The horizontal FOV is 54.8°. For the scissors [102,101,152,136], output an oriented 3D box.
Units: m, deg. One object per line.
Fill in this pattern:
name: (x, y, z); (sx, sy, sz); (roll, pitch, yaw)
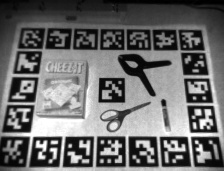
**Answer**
scissors: (0.061, 0.105, 0.794); (0.203, 0.016, 0.087); (-28, 71, -12)

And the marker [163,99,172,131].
marker: (0.203, 0.107, 0.794); (0.019, 0.020, 0.120); (-4, 69, -1)

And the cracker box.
cracker box: (-0.173, 0.024, 0.796); (0.164, 0.072, 0.213); (1, 70, 0)

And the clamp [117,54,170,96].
clamp: (0.109, -0.070, 0.864); (0.202, 0.037, 0.165); (28, 71, 9)
